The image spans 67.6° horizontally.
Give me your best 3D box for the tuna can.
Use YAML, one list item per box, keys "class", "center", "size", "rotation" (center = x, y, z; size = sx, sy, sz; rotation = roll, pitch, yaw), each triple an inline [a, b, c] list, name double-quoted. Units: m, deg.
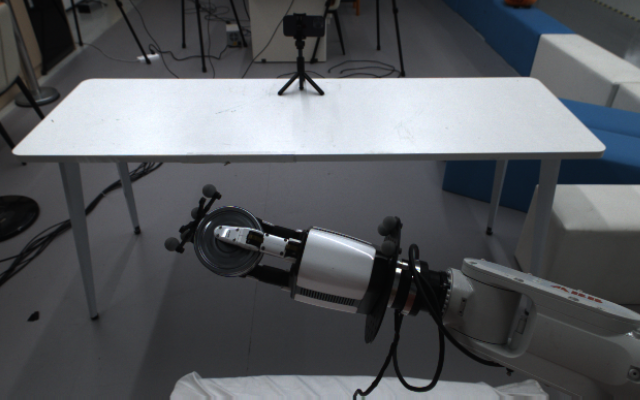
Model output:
- class: "tuna can"
  center: [-0.107, 0.055, 0.595]
  size: [0.085, 0.034, 0.085]
  rotation: [1, 77, -5]
